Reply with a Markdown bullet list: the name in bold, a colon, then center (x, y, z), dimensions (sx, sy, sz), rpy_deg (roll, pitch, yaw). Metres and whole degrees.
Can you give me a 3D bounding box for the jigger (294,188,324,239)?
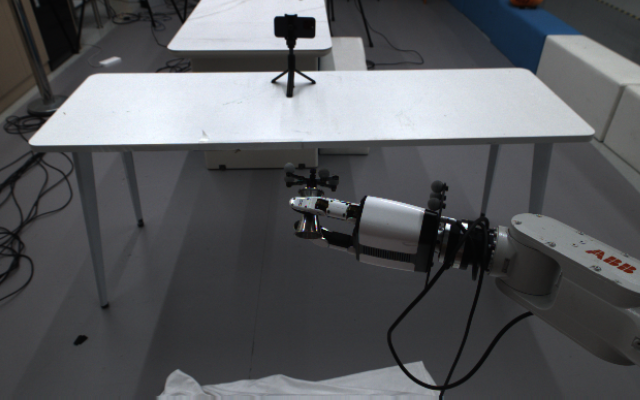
- **jigger**: center (-0.016, 0.019, 0.715), dimensions (0.043, 0.043, 0.071), rpy_deg (3, 72, 1)
